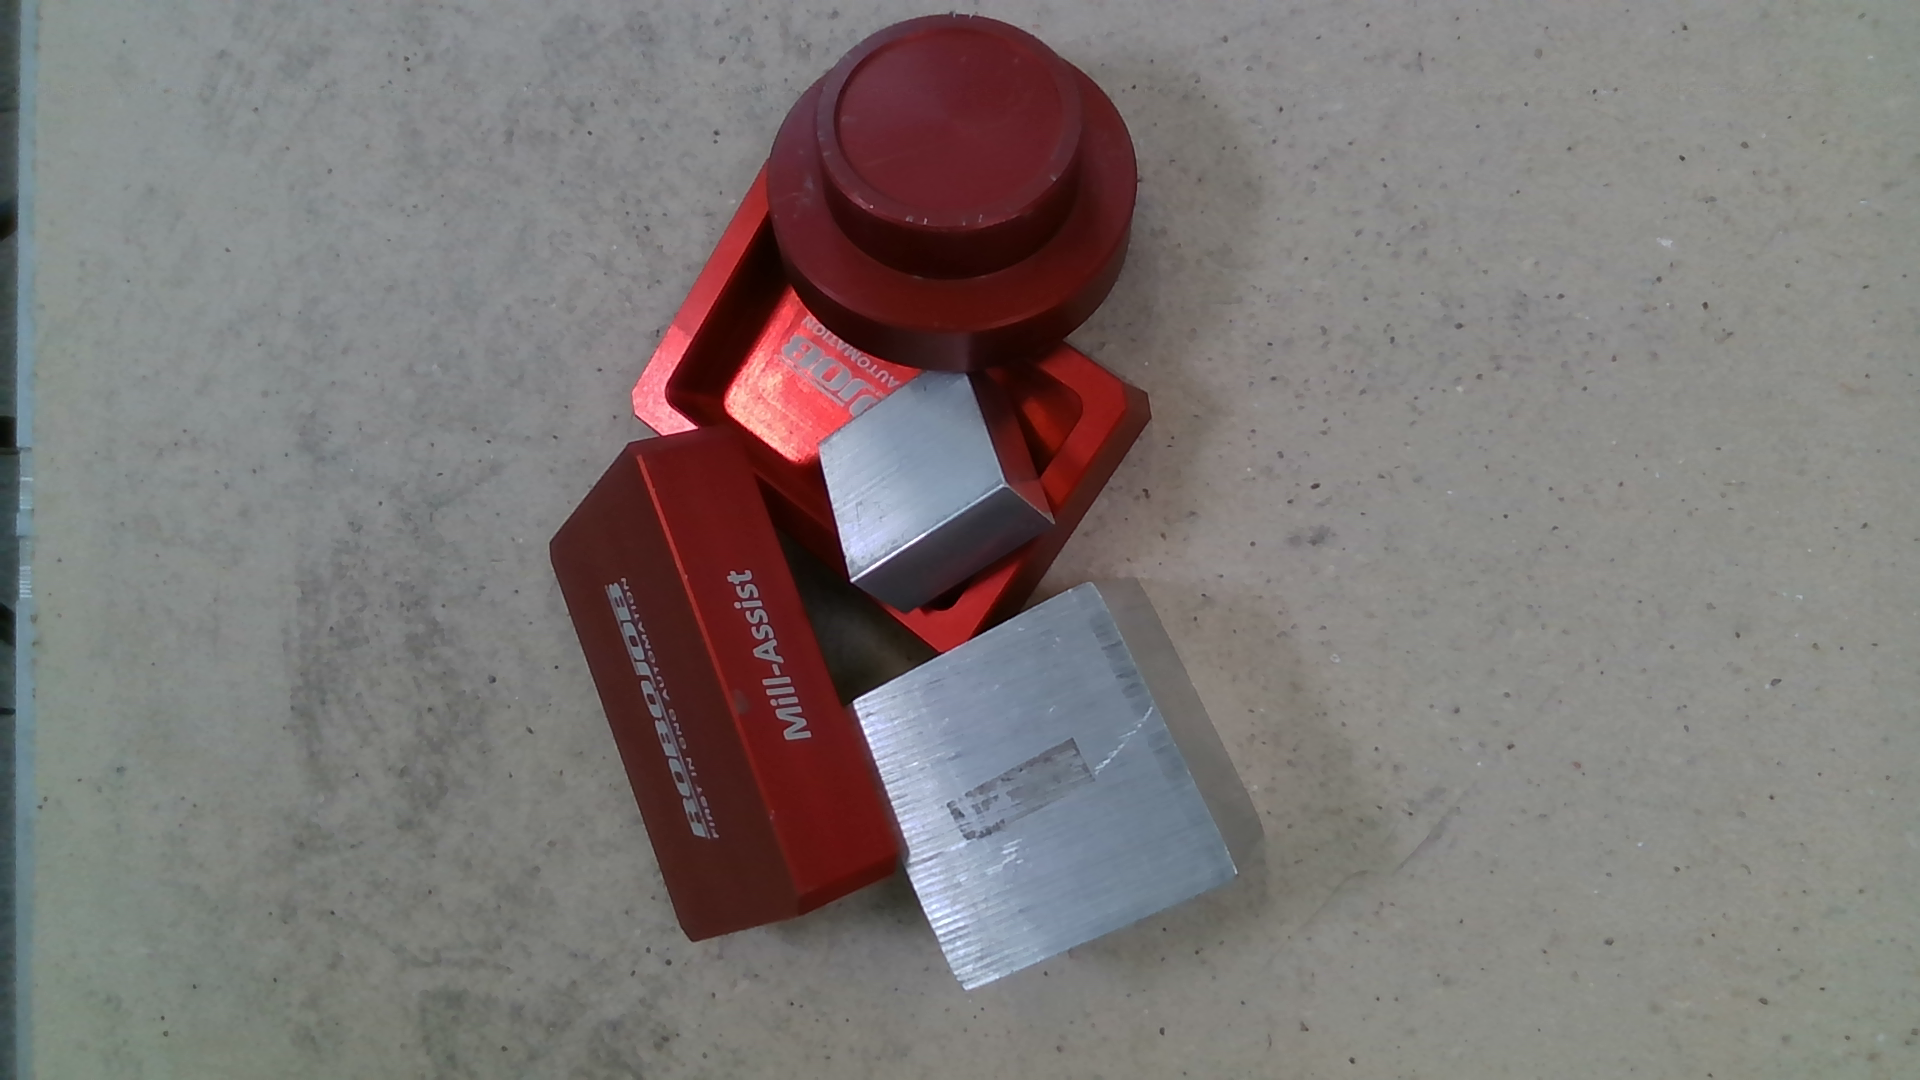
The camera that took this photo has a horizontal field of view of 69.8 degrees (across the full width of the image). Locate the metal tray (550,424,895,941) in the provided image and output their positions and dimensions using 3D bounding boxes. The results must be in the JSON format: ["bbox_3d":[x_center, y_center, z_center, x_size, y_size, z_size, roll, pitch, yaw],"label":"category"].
[{"bbox_3d":[-0.072,0.044,0.394,0.090,0.030,0.130,-33,76,54],"label":"metal tray"}]

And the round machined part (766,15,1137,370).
[{"bbox_3d":[-0.002,-0.097,0.363,0.098,0.042,0.098,0,66,1],"label":"round machined part"}]

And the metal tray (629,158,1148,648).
[{"bbox_3d":[-0.023,-0.040,0.399,0.130,0.030,0.090,36,102,16],"label":"metal tray"}]

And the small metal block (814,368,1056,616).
[{"bbox_3d":[-0.008,-0.016,0.373,0.050,0.025,0.050,-32,52,19],"label":"small metal block"}]

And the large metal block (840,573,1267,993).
[{"bbox_3d":[0.026,0.063,0.372,0.080,0.050,0.080,-28,81,18],"label":"large metal block"}]
